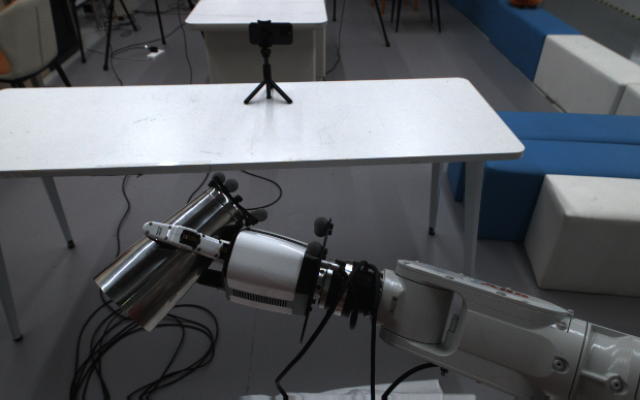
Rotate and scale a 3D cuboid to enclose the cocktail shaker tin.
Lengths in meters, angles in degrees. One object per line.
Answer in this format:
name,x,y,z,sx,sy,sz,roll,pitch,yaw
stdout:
cocktail shaker tin,-0.173,0.060,0.587,0.093,0.093,0.170,32,66,36
